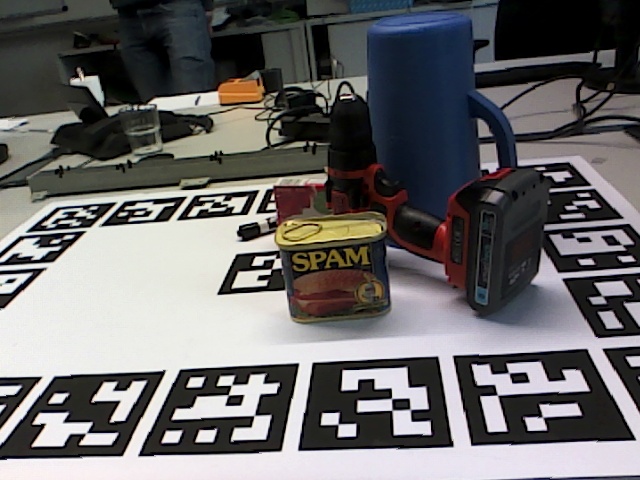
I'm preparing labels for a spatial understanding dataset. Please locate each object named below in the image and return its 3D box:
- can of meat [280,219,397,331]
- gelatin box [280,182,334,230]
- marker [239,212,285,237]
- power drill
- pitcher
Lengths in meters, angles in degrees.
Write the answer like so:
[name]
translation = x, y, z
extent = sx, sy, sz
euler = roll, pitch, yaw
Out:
[can of meat]
translation = 0.020, 0.032, 0.570
extent = 0.102, 0.083, 0.058
euler = -5, 24, 5
[gelatin box]
translation = 0.002, -0.030, 0.723
extent = 0.090, 0.073, 0.030
euler = 2, 31, 15
[marker]
translation = -0.045, -0.029, 0.788
extent = 0.120, 0.019, 0.020
euler = -17, 28, -17
[power drill]
translation = 0.085, -0.043, 0.600
extent = 0.188, 0.184, 0.057
euler = 19, 39, 34
[pitcher]
translation = 0.137, -0.113, 0.677
extent = 0.190, 0.242, 0.133
euler = 5, 31, 39
